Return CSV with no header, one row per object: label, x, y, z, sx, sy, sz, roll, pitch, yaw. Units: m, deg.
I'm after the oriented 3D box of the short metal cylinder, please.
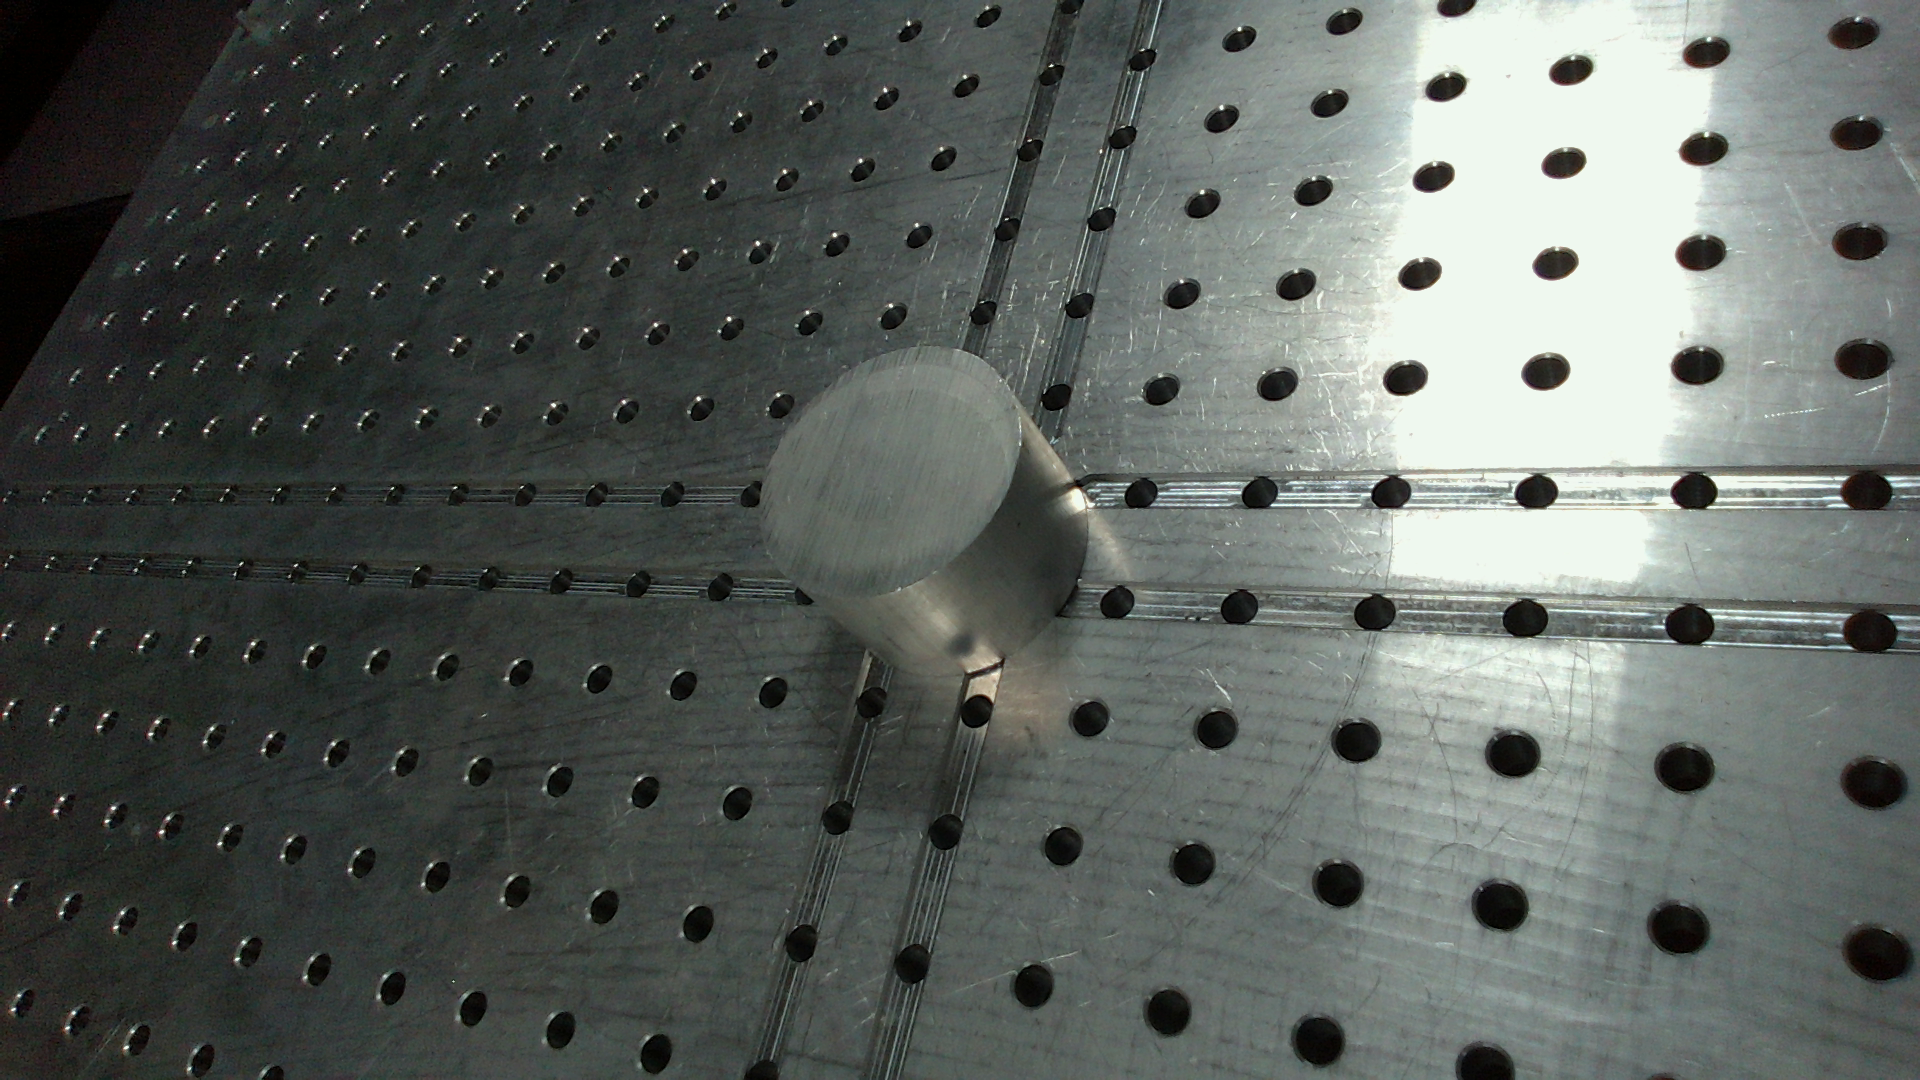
short metal cylinder,-0.010,-0.008,0.391,0.080,0.050,0.080,-14,56,21
